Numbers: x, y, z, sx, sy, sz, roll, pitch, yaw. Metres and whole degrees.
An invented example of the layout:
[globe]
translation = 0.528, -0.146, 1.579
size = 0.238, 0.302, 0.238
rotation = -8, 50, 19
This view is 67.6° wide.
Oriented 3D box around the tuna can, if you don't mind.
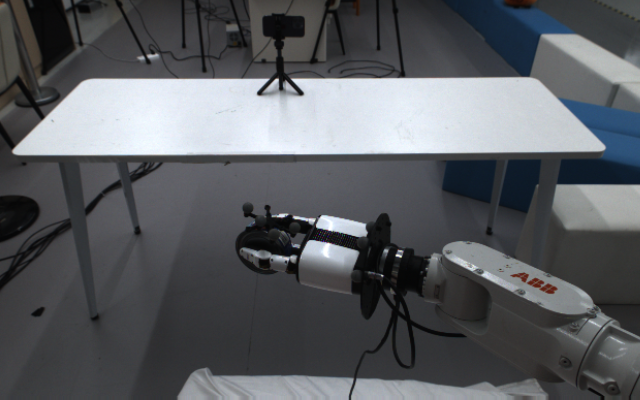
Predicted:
[tuna can]
translation = -0.087, 0.076, 0.770
size = 0.085, 0.085, 0.034
rotation = 13, 30, 15
